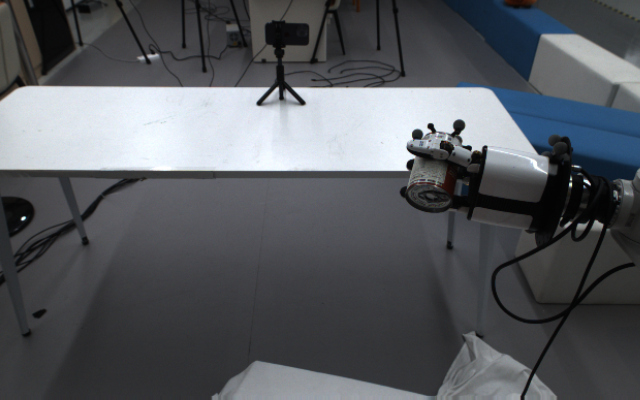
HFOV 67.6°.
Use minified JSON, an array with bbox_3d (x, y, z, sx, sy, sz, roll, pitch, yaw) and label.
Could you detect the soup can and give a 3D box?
[{"bbox_3d":[0.168,-0.044,0.712,0.067,0.067,0.101,12,59,14],"label":"soup can"}]
